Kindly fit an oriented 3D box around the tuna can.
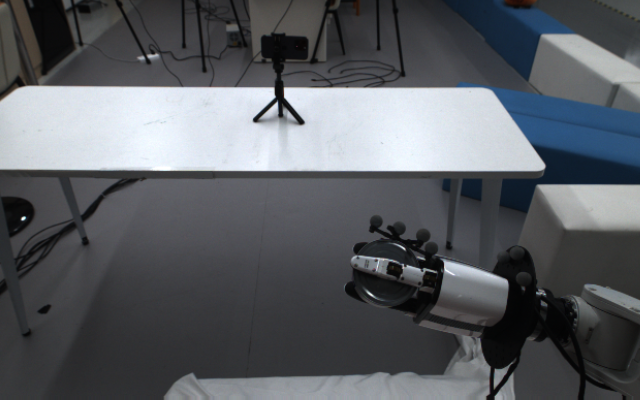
[{"bbox_3d":[0.086,0.092,0.624,0.085,0.034,0.085,0,72,0],"label":"tuna can"}]
